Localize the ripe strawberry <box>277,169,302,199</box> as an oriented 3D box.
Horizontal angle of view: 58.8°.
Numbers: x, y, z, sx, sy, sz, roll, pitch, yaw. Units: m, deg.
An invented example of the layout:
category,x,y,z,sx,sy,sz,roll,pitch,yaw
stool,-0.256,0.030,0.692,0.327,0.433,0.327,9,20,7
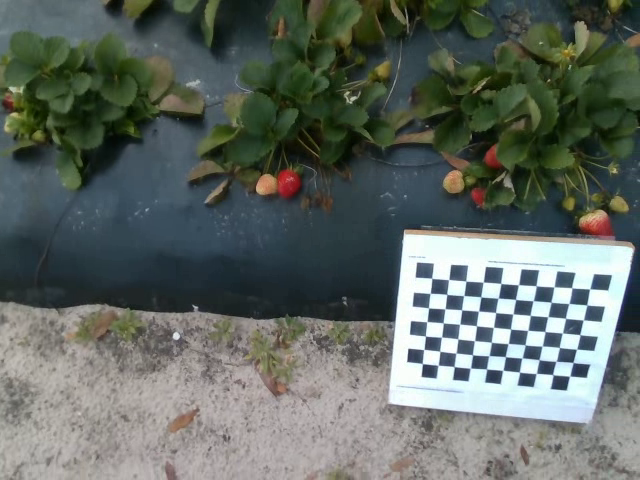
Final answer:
category,x,y,z,sx,sy,sz,roll,pitch,yaw
ripe strawberry,-0.043,-0.074,0.710,0.034,0.042,0.033,33,-40,-5
